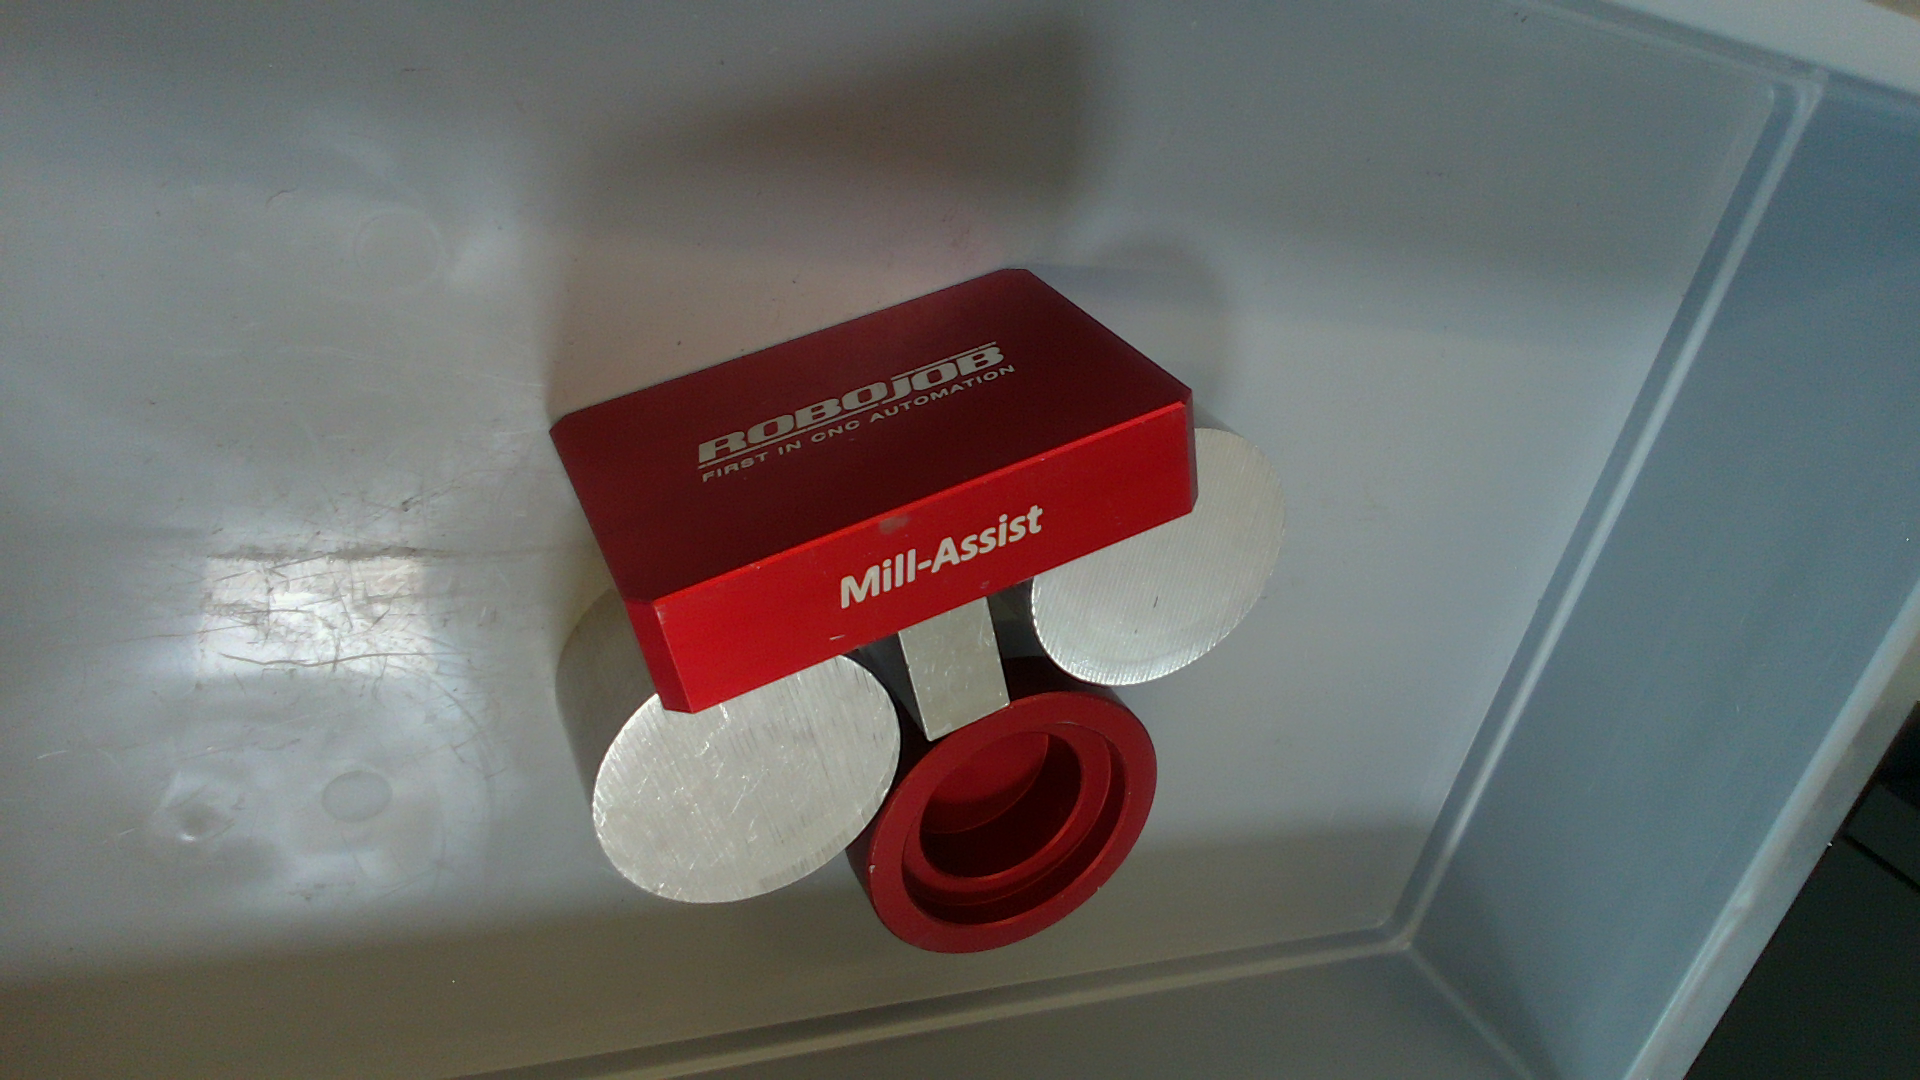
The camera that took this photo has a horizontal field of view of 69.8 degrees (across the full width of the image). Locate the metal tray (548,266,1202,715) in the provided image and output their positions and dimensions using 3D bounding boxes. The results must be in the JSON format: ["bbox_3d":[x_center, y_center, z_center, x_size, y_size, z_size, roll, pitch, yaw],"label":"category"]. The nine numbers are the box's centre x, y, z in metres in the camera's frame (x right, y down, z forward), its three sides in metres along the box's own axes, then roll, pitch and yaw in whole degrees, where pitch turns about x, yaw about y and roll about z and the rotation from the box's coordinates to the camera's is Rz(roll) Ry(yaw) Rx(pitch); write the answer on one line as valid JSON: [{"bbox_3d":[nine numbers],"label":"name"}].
[{"bbox_3d":[-0.021,-0.018,0.322,0.130,0.090,0.030,-21,127,-15],"label":"metal tray"}]

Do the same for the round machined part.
[{"bbox_3d":[0.009,0.077,0.428,0.098,0.042,0.098,-14,124,-21],"label":"round machined part"}]

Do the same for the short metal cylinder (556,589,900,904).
[{"bbox_3d":[-0.063,0.049,0.367,0.080,0.050,0.080,-14,124,-21],"label":"short metal cylinder"}]

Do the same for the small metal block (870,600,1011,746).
[{"bbox_3d":[-0.012,0.018,0.376,0.025,0.050,0.050,-23,127,-14],"label":"small metal block"}]

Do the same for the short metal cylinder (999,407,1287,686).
[{"bbox_3d":[0.045,-0.006,0.392,0.080,0.050,0.080,-14,124,-21],"label":"short metal cylinder"}]
